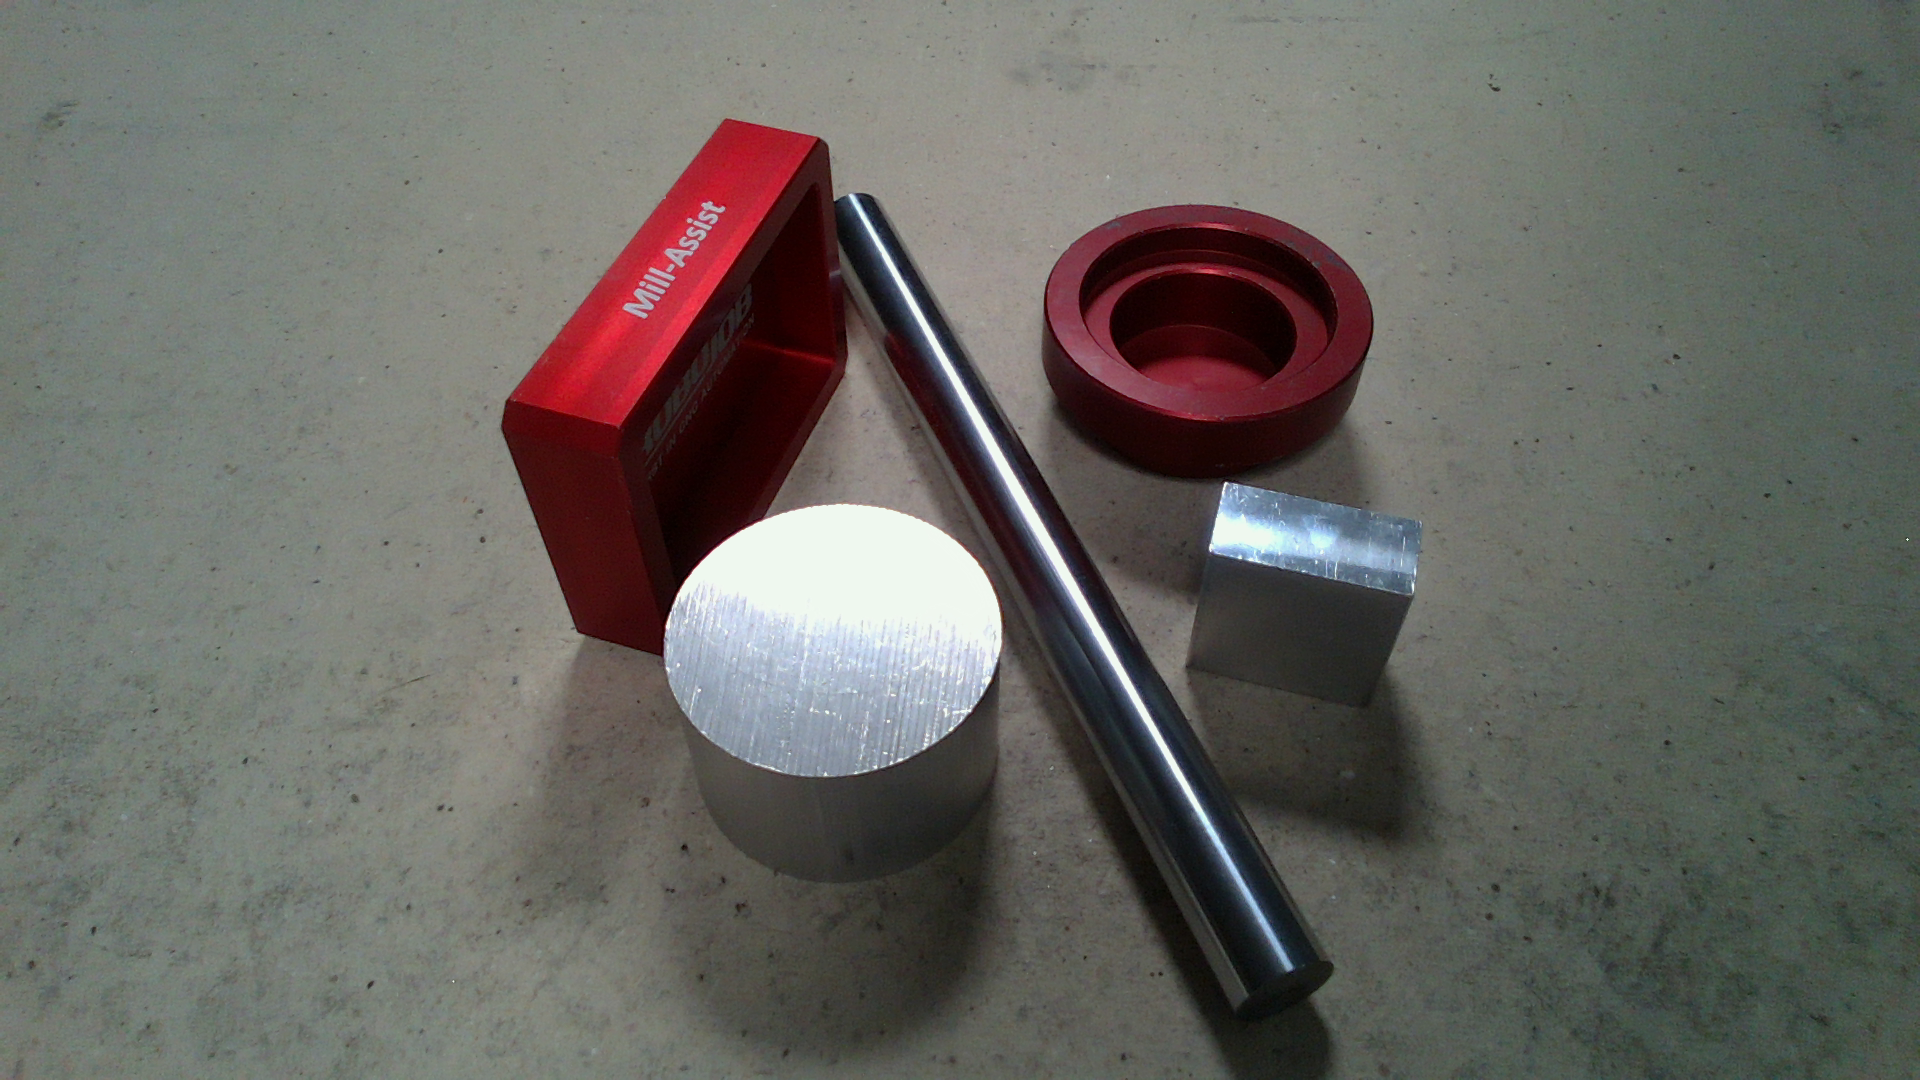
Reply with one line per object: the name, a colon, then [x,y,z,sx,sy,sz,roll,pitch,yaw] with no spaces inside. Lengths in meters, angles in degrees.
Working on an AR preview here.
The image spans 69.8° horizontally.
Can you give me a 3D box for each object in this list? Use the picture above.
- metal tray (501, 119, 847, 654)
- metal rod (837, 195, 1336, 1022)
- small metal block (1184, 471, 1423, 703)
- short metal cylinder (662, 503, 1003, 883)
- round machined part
metal tray: [-0.072,-0.044,0.386,0.030,0.090,0.130,14,51,12]
metal rod: [0.017,-0.005,0.397,0.025,0.025,0.299,-17,52,-14]
small metal block: [0.089,0.013,0.361,0.050,0.050,0.025,13,51,11]
short metal cylinder: [-0.030,0.037,0.344,0.080,0.050,0.080,0,50,0]
round machined part: [0.074,-0.058,0.430,0.098,0.042,0.098,0,50,0]
